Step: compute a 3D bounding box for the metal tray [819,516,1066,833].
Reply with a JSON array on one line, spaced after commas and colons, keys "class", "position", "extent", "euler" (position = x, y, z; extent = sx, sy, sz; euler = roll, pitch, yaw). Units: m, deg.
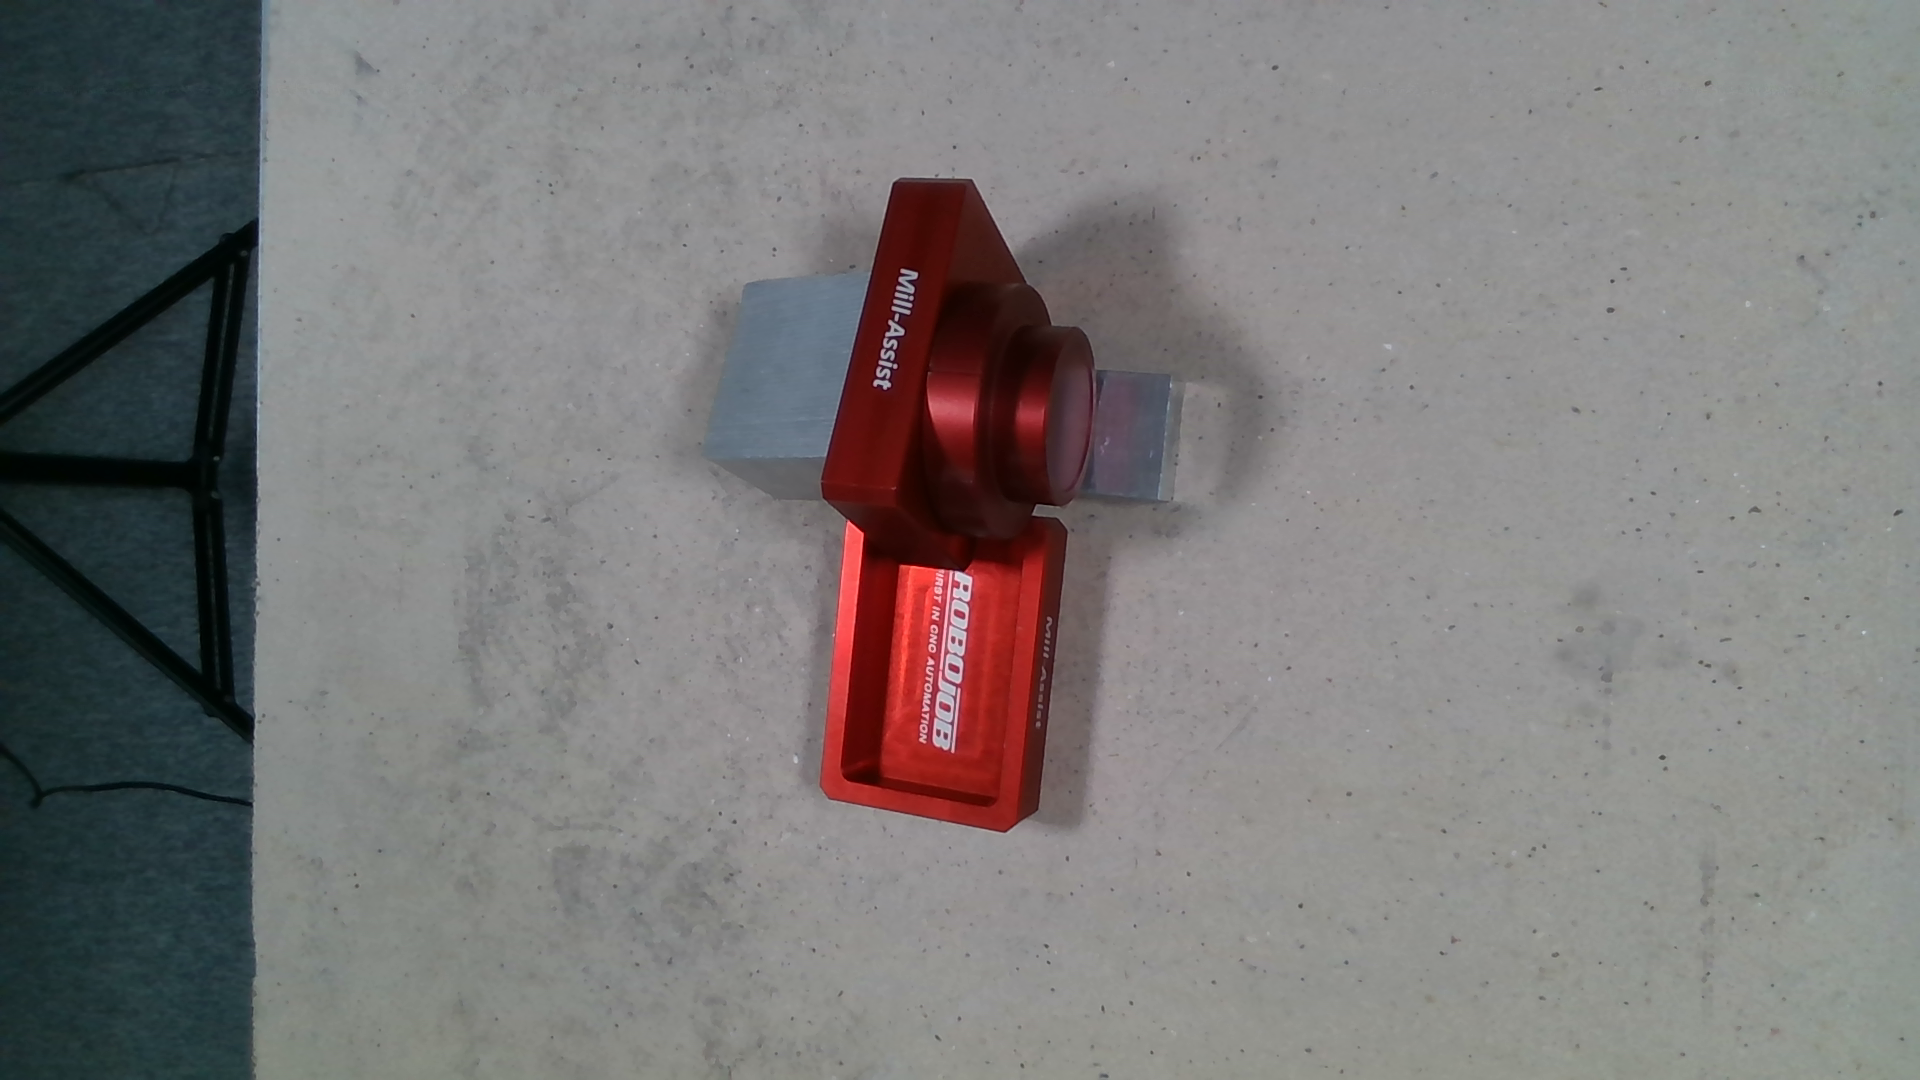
[{"class": "metal tray", "position": [-0.008, 0.051, 0.586], "extent": [0.090, 0.030, 0.130], "euler": [7, 93, 20]}]

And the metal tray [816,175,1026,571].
[{"class": "metal tray", "position": [-0.011, -0.063, 0.536], "extent": [0.030, 0.090, 0.130], "euler": [7, 74, 21]}]

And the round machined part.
[{"class": "round machined part", "position": [0.022, -0.049, 0.527], "extent": [0.042, 0.098, 0.098], "euler": [7, 93, 20]}]

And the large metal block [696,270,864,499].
[{"class": "large metal block", "position": [-0.054, -0.063, 0.572], "extent": [0.080, 0.050, 0.080], "euler": [2, 73, 33]}]

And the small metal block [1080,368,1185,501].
[{"class": "small metal block", "position": [0.062, -0.043, 0.563], "extent": [0.050, 0.025, 0.050], "euler": [7, 93, 20]}]
